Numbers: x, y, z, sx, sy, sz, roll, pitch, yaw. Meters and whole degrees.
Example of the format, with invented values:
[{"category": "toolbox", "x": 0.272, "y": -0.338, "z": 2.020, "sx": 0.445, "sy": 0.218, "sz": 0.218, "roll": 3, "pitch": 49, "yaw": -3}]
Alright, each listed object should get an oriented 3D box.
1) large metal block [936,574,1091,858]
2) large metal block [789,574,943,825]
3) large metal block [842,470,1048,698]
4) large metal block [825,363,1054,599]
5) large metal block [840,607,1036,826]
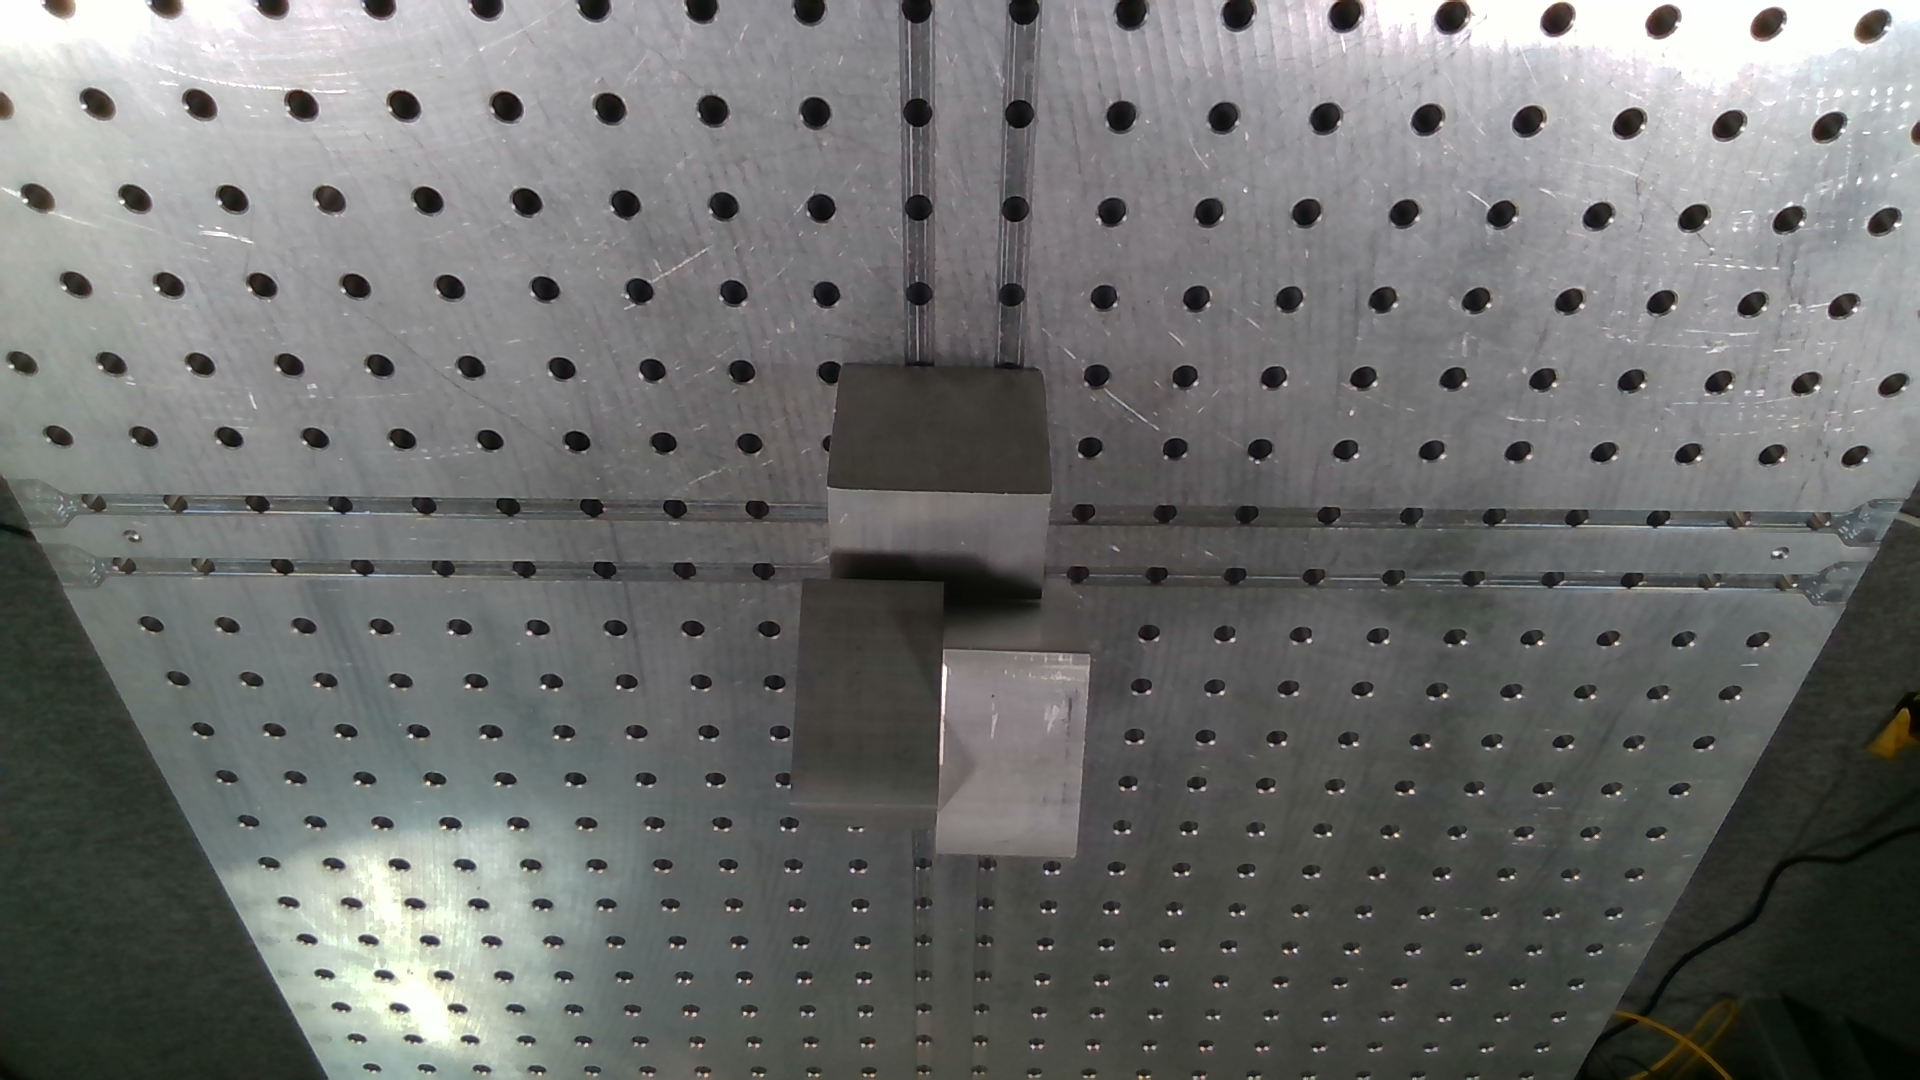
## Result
[{"category": "large metal block", "x": 0.017, "y": 0.063, "z": 0.516, "sx": 0.050, "sy": 0.080, "sz": 0.080, "roll": 2, "pitch": 107, "yaw": -2}, {"category": "large metal block", "x": -0.033, "y": 0.063, "z": 0.512, "sx": 0.050, "sy": 0.080, "sz": 0.080, "roll": 2, "pitch": 163, "yaw": -2}, {"category": "large metal block", "x": -0.008, "y": 0.019, "z": 0.579, "sx": 0.080, "sy": 0.050, "sz": 0.080, "roll": 2, "pitch": 130, "yaw": -2}, {"category": "large metal block", "x": -0.008, "y": -0.024, "z": 0.527, "sx": 0.080, "sy": 0.080, "sz": 0.050, "roll": 1, "pitch": 130, "yaw": -1}, {"category": "large metal block", "x": -0.010, "y": 0.077, "z": 0.611, "sx": 0.080, "sy": 0.080, "sz": 0.050, "roll": 3, "pitch": 130, "yaw": -2}]
